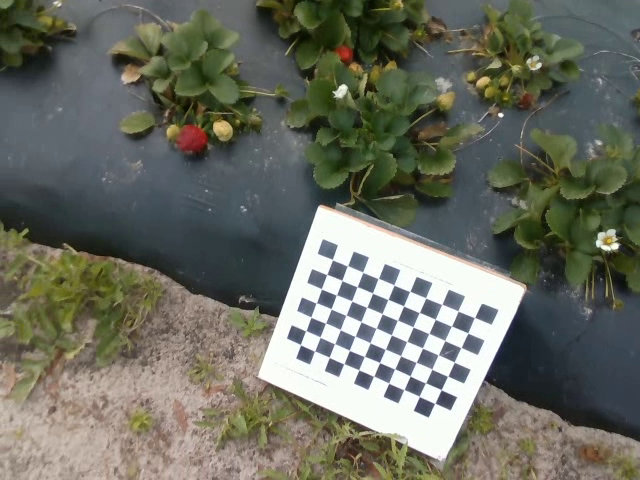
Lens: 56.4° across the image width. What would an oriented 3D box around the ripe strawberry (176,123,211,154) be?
[{"bbox_3d":[-0.196,-0.149,0.896,0.047,0.045,0.059,17,36,10],"label":"ripe strawberry"}]
